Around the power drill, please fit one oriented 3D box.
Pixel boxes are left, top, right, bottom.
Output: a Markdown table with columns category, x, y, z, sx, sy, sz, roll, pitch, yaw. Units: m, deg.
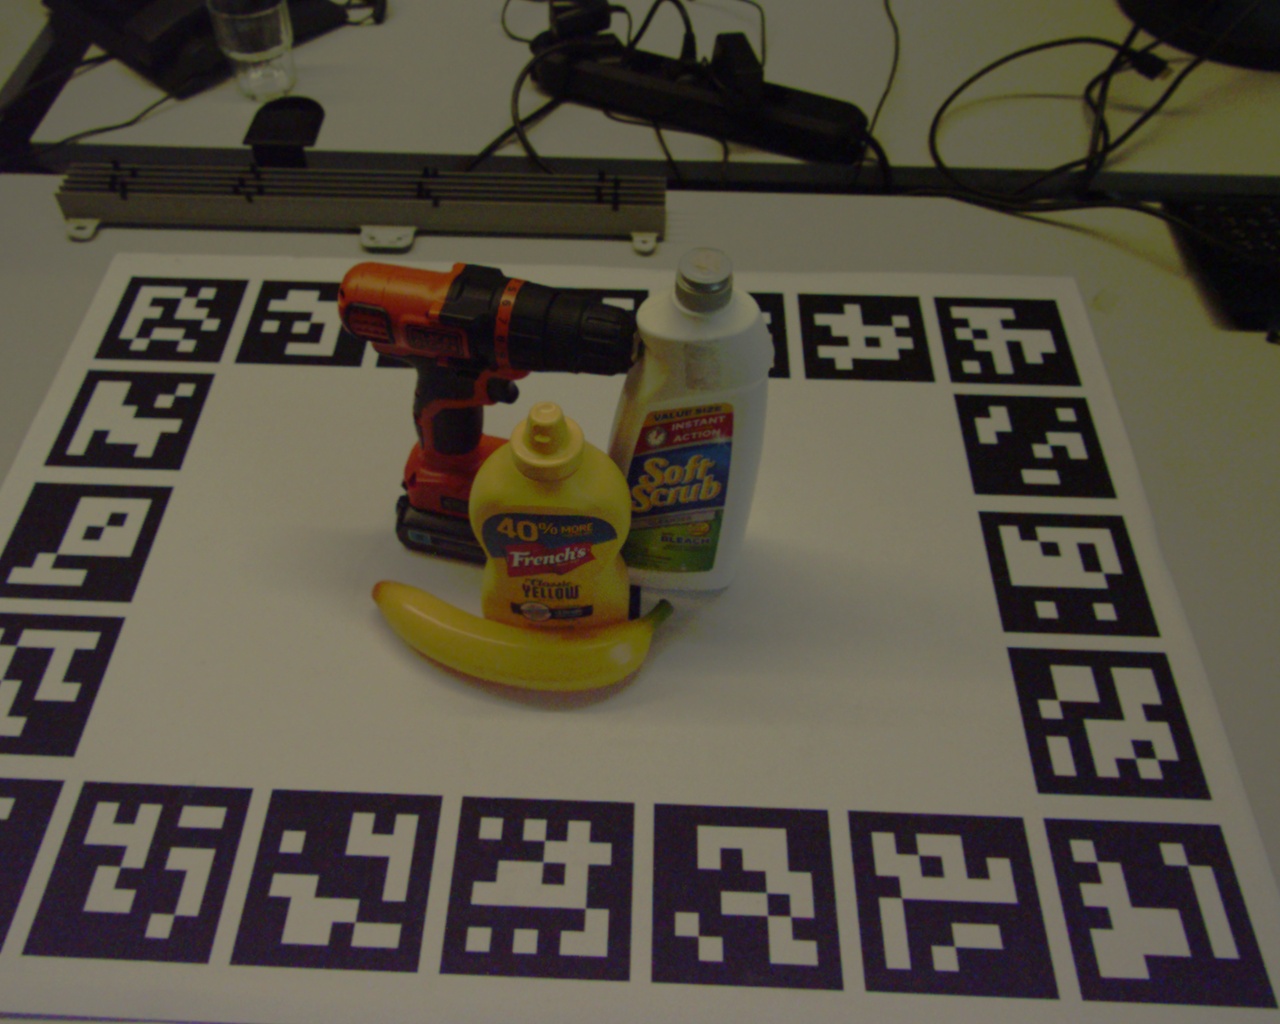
| category | x | y | z | sx | sy | sz | roll | pitch | yaw |
| --- | --- | --- | --- | --- | --- | --- | --- | --- | --- |
| power drill | -0.095 | -0.066 | 0.737 | 0.185 | 0.186 | 0.057 | 13 | 53 | 8 |

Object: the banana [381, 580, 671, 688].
| category | x | y | z | sx | sy | sz | roll | pitch | yaw |
| --- | --- | --- | --- | --- | --- | --- | --- | --- | --- |
| banana | -0.081 | 0.079 | 0.759 | 0.198 | 0.038 | 0.074 | 5 | 54 | 7 |

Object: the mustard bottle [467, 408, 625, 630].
| category | x | y | z | sx | sy | sz | roll | pitch | yaw |
| --- | --- | --- | --- | --- | --- | --- | --- | --- | --- |
| mustard bottle | -0.058 | 0.005 | 0.708 | 0.096 | 0.191 | 0.058 | 4 | 53 | 1 |

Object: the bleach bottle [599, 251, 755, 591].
| category | x | y | z | sx | sy | sz | roll | pitch | yaw |
| --- | --- | --- | --- | --- | --- | --- | --- | --- | --- |
| bleach bottle | 0.016 | -0.053 | 0.722 | 0.103 | 0.250 | 0.068 | 5 | 47 | 3 |
